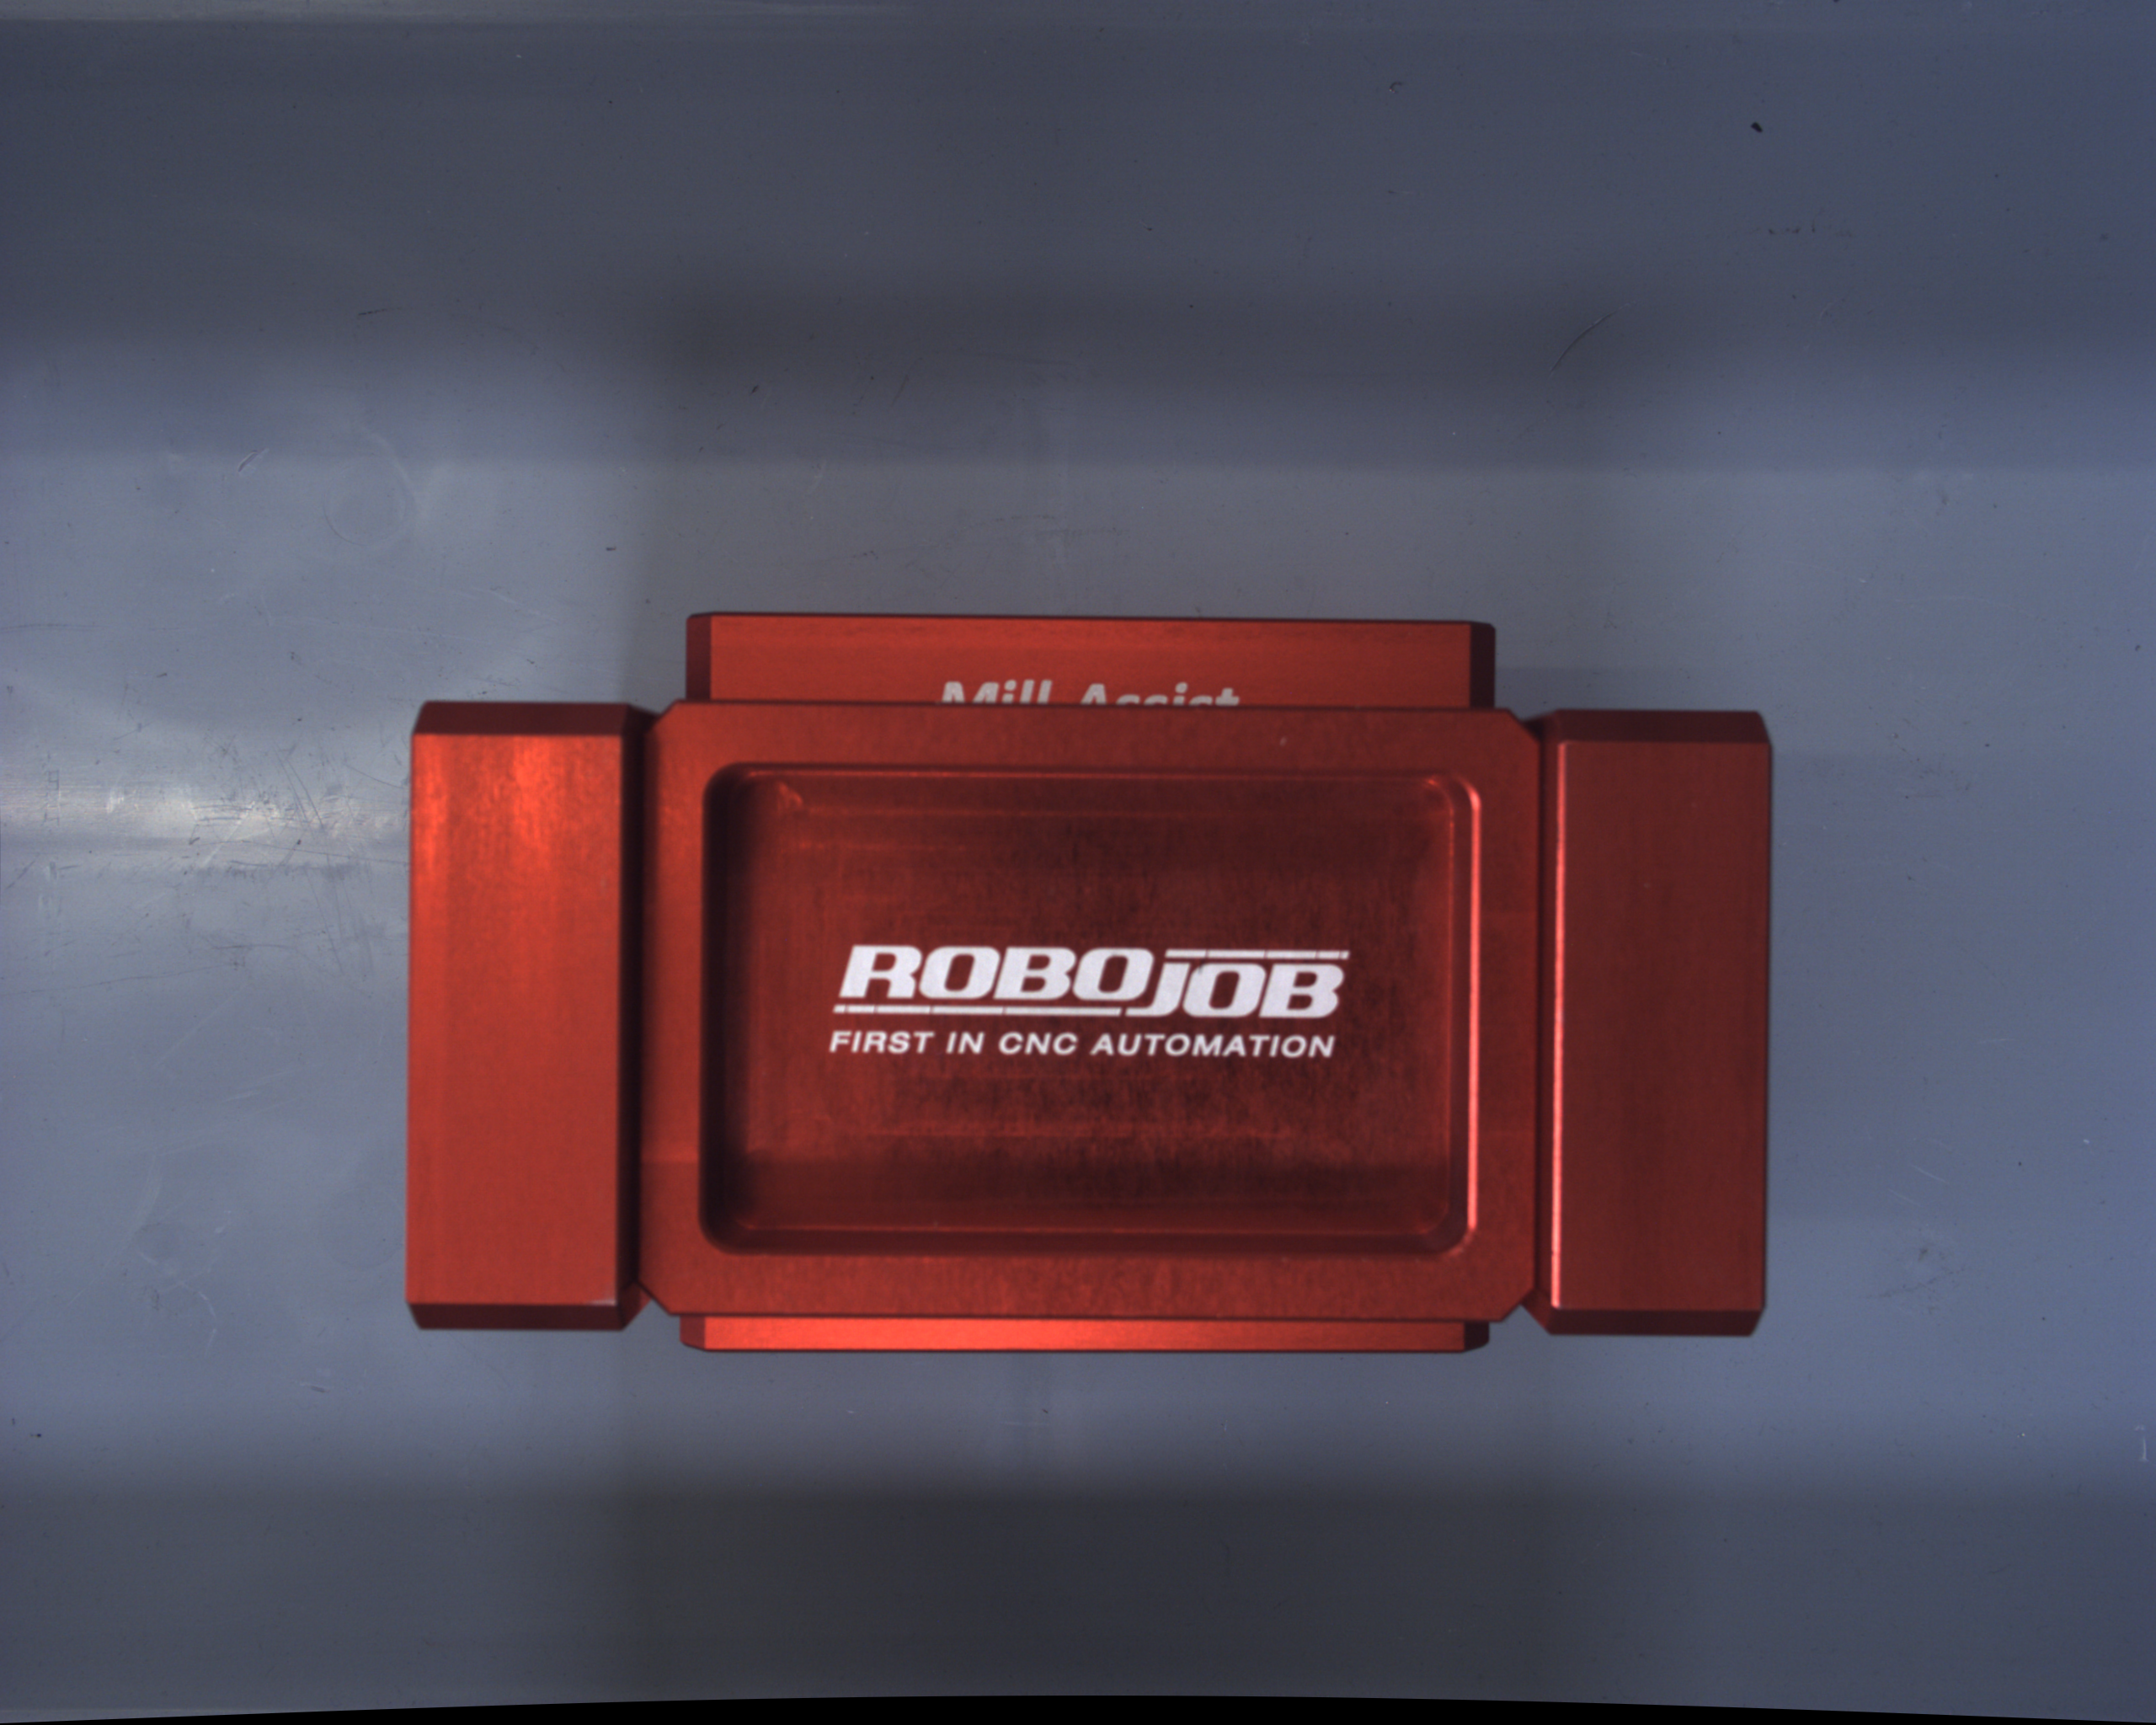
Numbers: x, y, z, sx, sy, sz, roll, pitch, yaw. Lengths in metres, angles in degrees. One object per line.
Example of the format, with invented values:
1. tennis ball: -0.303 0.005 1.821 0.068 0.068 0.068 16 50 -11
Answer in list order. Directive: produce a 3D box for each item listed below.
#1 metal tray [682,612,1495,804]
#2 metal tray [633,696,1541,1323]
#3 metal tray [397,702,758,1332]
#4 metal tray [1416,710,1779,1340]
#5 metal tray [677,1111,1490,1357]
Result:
1. metal tray: 0.002 -0.025 0.376 0.131 0.090 0.030 0 91 0
2. metal tray: 0.001 0.021 0.317 0.131 0.030 0.089 1 90 0
3. metal tray: -0.080 0.021 0.357 0.030 0.130 0.089 1 91 0
4. metal tray: 0.083 0.022 0.357 0.030 0.130 0.089 1 91 0
5. metal tray: 0.001 0.064 0.376 0.131 0.090 0.030 0 90 0
